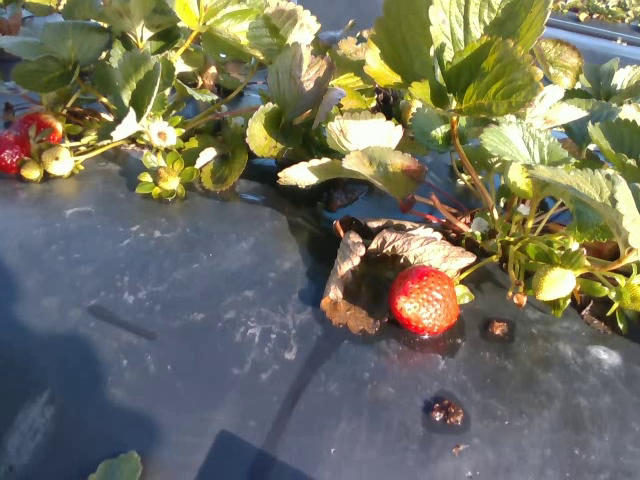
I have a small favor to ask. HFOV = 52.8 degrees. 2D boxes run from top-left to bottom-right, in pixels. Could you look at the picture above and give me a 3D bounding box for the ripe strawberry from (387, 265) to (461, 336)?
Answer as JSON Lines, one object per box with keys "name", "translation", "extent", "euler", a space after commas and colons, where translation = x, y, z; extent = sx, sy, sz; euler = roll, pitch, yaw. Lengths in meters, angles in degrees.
{"name": "ripe strawberry", "translation": [0.043, 0.030, 0.288], "extent": [0.047, 0.038, 0.054], "euler": [45, 33, 25]}
